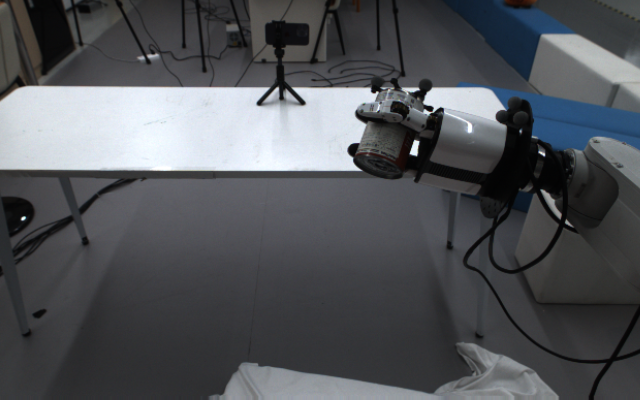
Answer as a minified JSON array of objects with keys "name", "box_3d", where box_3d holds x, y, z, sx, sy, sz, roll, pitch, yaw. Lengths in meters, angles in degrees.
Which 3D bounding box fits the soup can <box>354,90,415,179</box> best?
[{"name":"soup can","box_3d":[0.093,-0.087,0.641,0.067,0.067,0.101,15,76,18]}]
